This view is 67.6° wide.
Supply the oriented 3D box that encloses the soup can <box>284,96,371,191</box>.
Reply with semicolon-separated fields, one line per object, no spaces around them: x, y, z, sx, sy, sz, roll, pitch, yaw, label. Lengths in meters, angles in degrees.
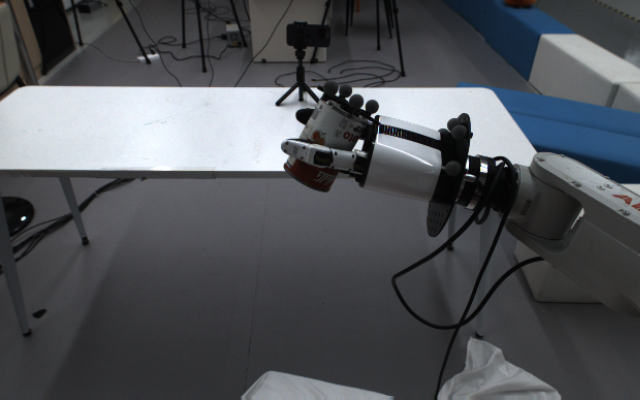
0.008;-0.070;0.605;0.067;0.101;0.067;27;18;-10;soup can
